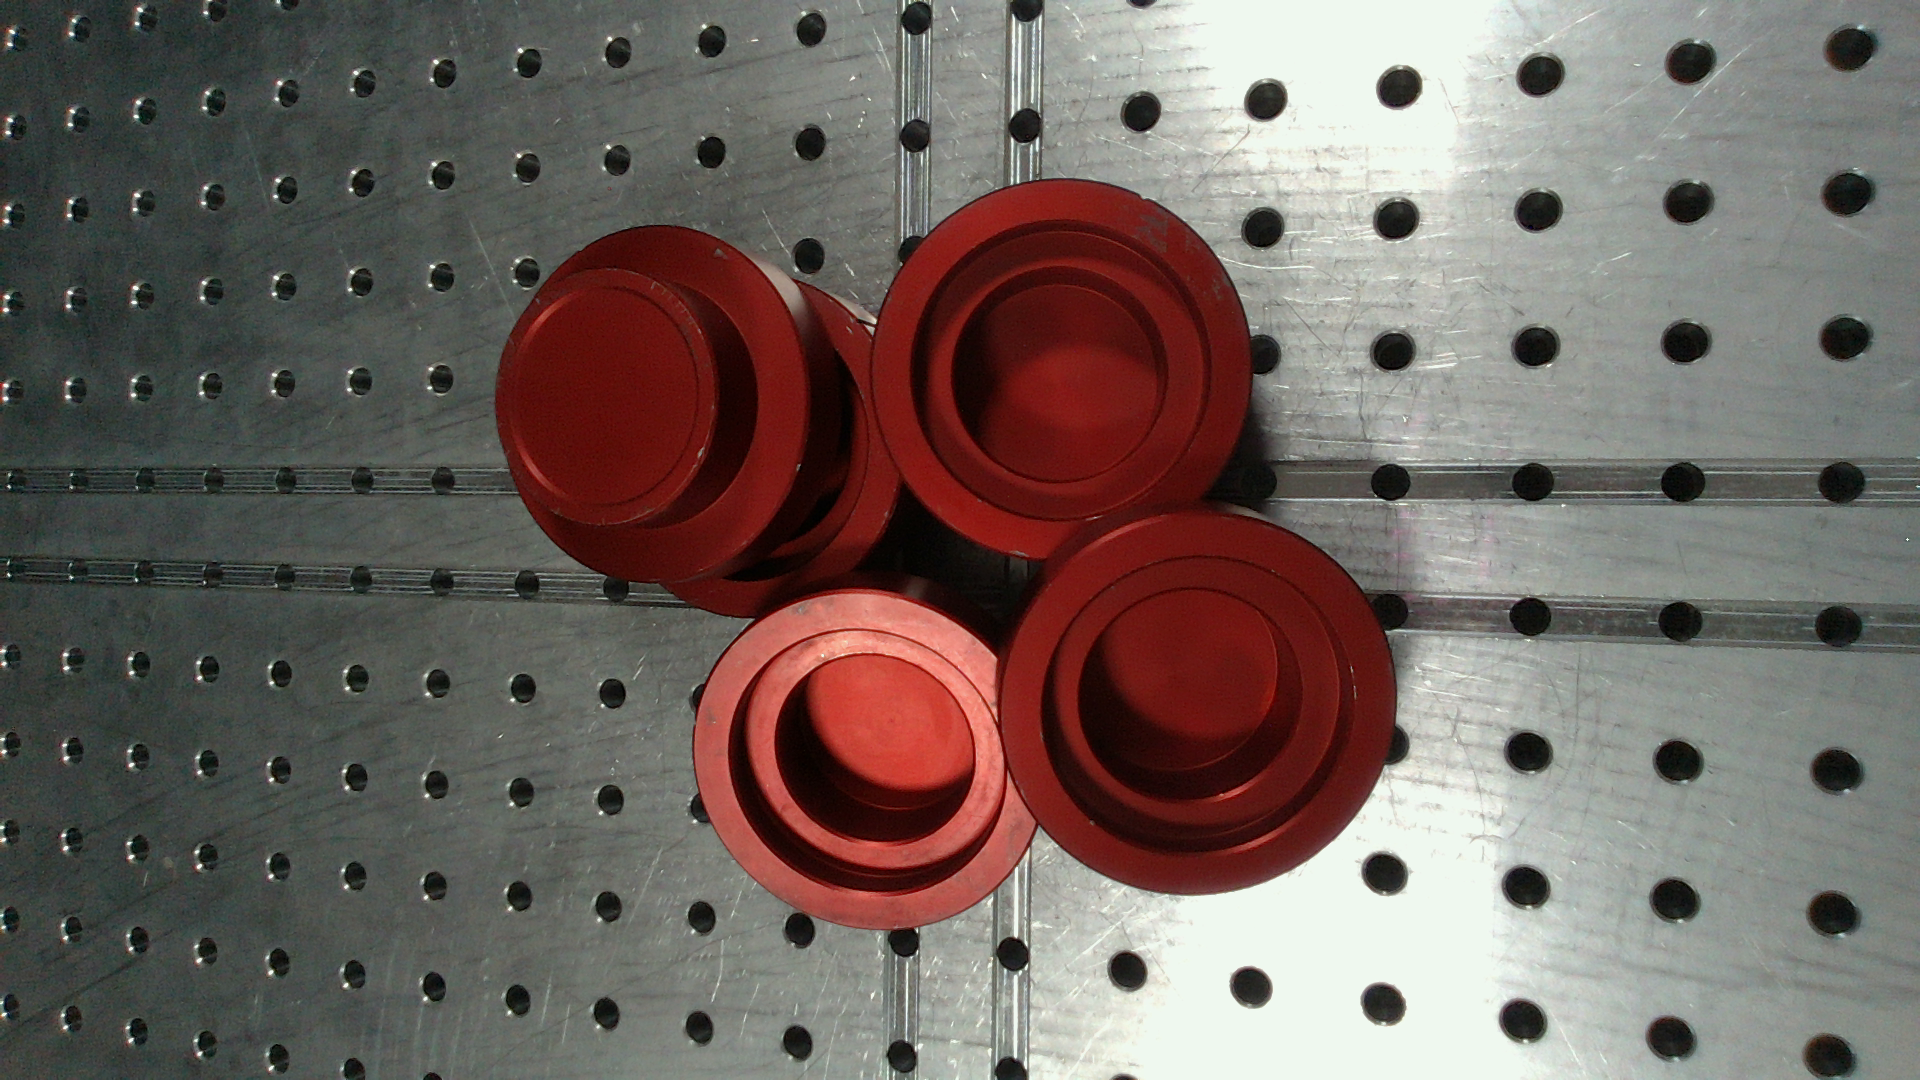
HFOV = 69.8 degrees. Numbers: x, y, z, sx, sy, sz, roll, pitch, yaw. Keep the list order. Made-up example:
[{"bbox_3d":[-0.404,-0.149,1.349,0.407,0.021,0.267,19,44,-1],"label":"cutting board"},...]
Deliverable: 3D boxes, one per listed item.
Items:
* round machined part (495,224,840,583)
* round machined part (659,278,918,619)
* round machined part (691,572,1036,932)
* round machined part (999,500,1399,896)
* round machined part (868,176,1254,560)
[{"bbox_3d":[-0.086,-0.037,0.375,0.098,0.042,0.098,0,90,20],"label":"round machined part"},{"bbox_3d":[-0.054,-0.027,0.408,0.098,0.042,0.098,0,90,20],"label":"round machined part"},{"bbox_3d":[-0.022,0.056,0.388,0.098,0.042,0.098,2,104,9],"label":"round machined part"},{"bbox_3d":[0.058,0.038,0.356,0.098,0.042,0.098,0,100,-1],"label":"round machined part"},{"bbox_3d":[0.027,-0.044,0.370,0.098,0.042,0.098,0,91,4],"label":"round machined part"}]
